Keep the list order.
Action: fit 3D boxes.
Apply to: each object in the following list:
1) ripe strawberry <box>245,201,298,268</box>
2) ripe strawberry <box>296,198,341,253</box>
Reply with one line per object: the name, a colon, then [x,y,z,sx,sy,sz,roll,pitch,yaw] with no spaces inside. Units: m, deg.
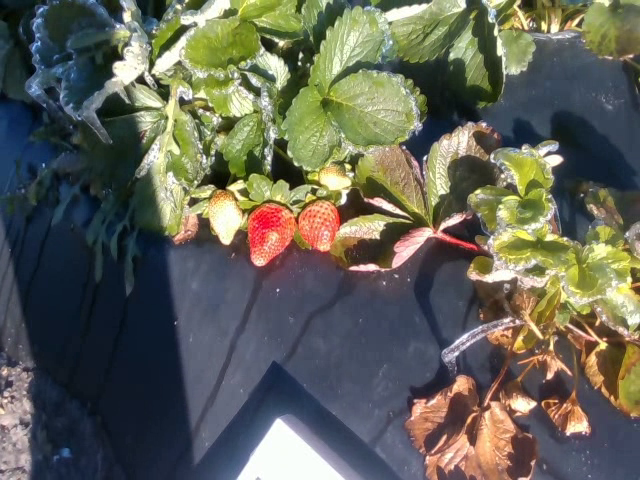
ripe strawberry: [-0.038,0.001,0.426,0.036,0.052,0.040,-6,-42,24]
ripe strawberry: [0.001,-0.009,0.427,0.036,0.041,0.030,-32,-20,20]
